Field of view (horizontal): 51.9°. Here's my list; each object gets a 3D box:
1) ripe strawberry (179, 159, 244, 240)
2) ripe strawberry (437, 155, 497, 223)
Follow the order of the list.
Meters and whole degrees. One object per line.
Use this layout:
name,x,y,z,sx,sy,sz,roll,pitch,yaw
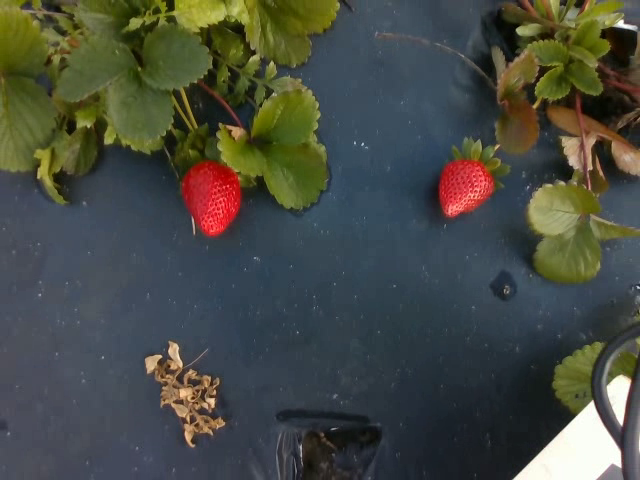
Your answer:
ripe strawberry,-0.067,-0.021,0.395,0.050,0.050,0.046,29,-52,-22
ripe strawberry,0.089,-0.028,0.410,0.041,0.052,0.045,-1,-46,47
